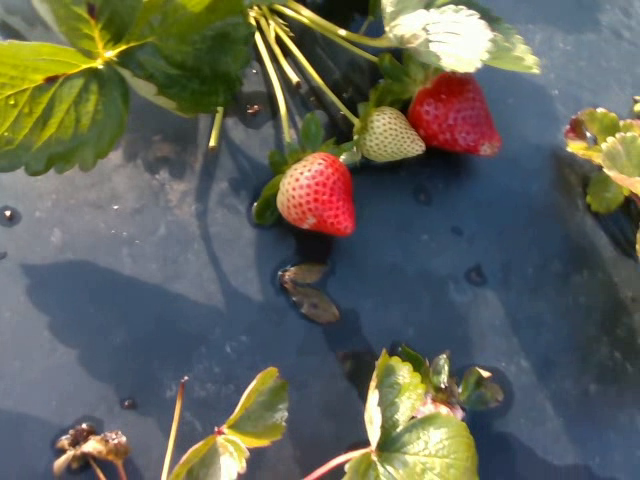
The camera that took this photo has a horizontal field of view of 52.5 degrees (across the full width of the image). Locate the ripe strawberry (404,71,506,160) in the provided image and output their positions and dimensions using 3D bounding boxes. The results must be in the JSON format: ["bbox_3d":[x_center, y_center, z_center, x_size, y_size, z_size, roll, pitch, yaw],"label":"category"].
[{"bbox_3d":[0.079,-0.066,0.357,0.048,0.065,0.050,-42,4,22],"label":"ripe strawberry"}]
